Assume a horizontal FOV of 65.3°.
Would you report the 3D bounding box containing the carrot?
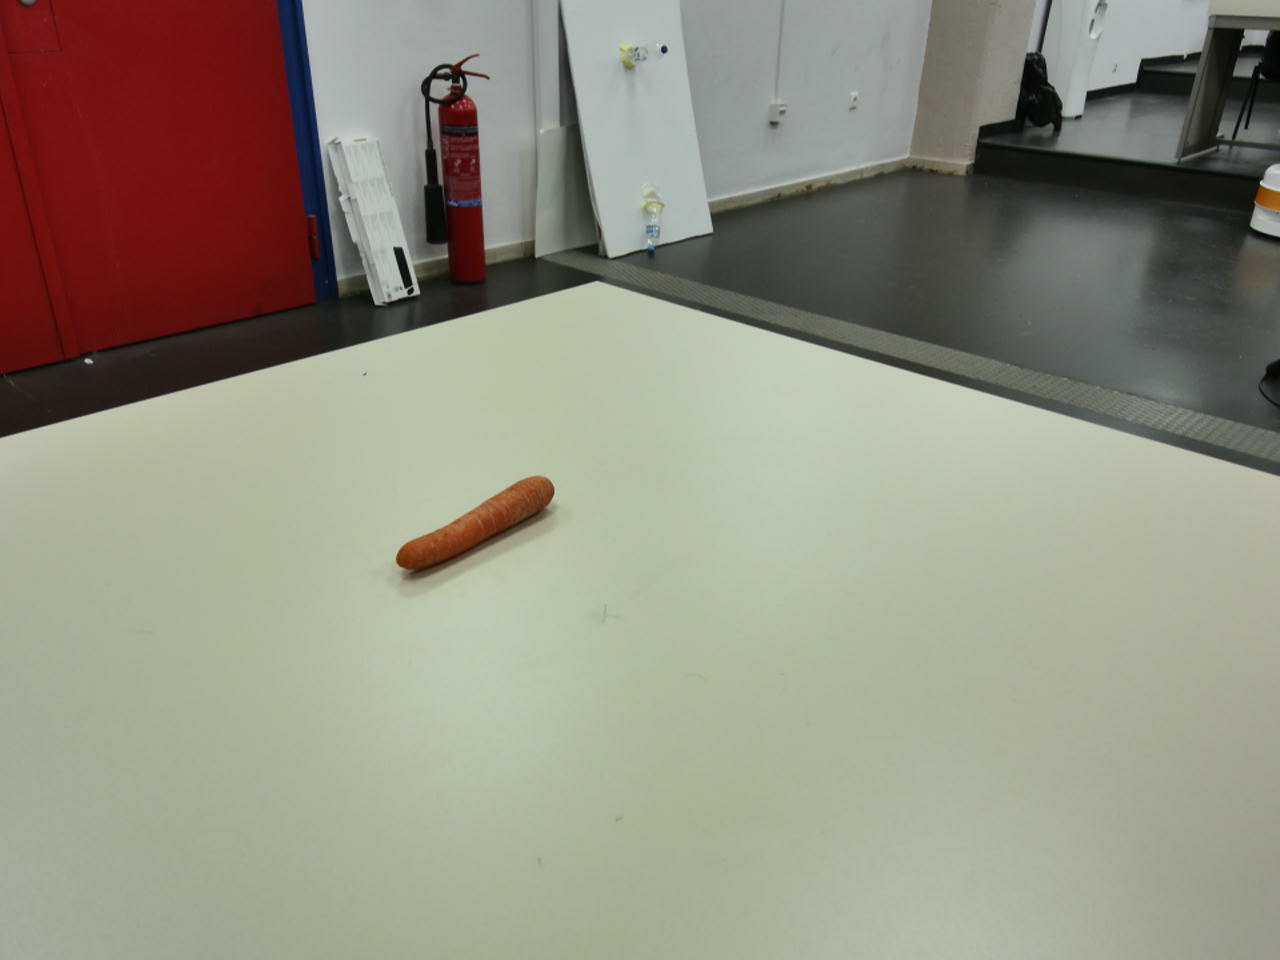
[{"bbox_3d":[-0.097,0.025,0.604,0.024,0.023,0.122,20,32,35],"label":"carrot"}]
